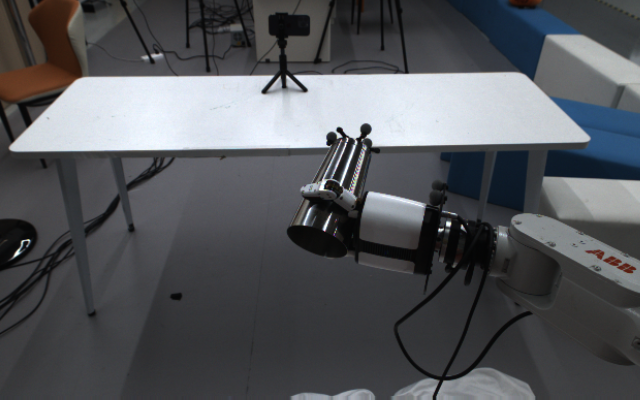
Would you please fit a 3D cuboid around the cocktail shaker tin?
[{"bbox_3d":[0.021,-0.011,0.727,0.093,0.093,0.170,13,60,16],"label":"cocktail shaker tin"}]
